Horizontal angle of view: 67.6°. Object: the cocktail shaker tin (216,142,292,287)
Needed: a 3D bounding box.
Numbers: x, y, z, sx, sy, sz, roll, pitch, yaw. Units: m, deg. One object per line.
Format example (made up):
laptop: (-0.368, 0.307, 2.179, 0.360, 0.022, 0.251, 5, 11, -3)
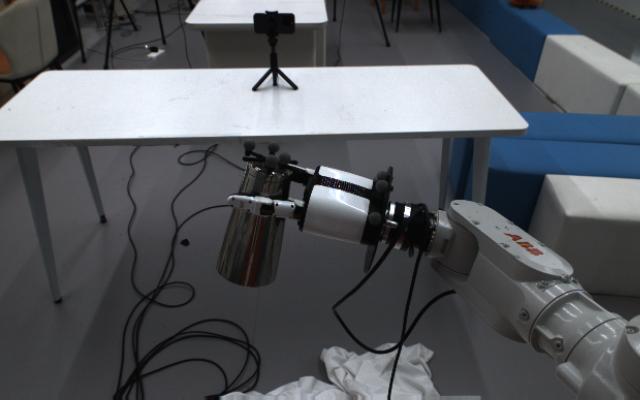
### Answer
cocktail shaker tin: (-0.090, 0.028, 0.711, 0.093, 0.170, 0.093, 14, 19, -5)
